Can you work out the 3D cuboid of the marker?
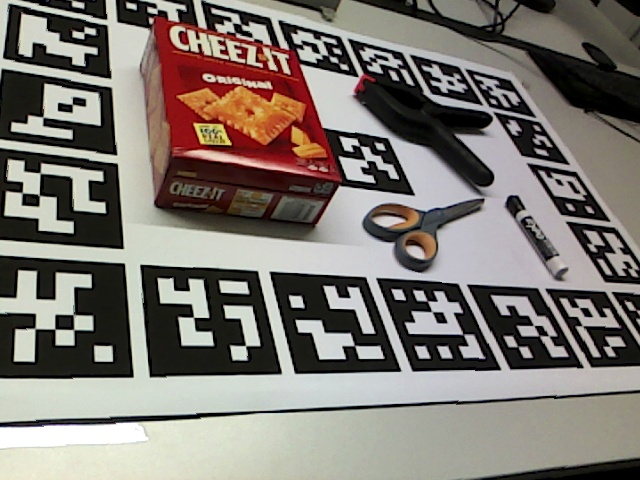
[{"bbox_3d":[0.260,-0.016,0.766,0.019,0.019,0.122,1,48,-30],"label":"marker"}]

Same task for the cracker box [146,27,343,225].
[{"bbox_3d":[-0.084,-0.120,0.633,0.163,0.072,0.214,5,47,-26],"label":"cracker box"}]

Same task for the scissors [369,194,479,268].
[{"bbox_3d":[0.133,-0.028,0.705,0.088,0.016,0.202,45,40,18],"label":"scissors"}]

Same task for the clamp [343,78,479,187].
[{"bbox_3d":[0.126,-0.163,0.846,0.202,0.037,0.165,26,39,-6],"label":"clamp"}]
